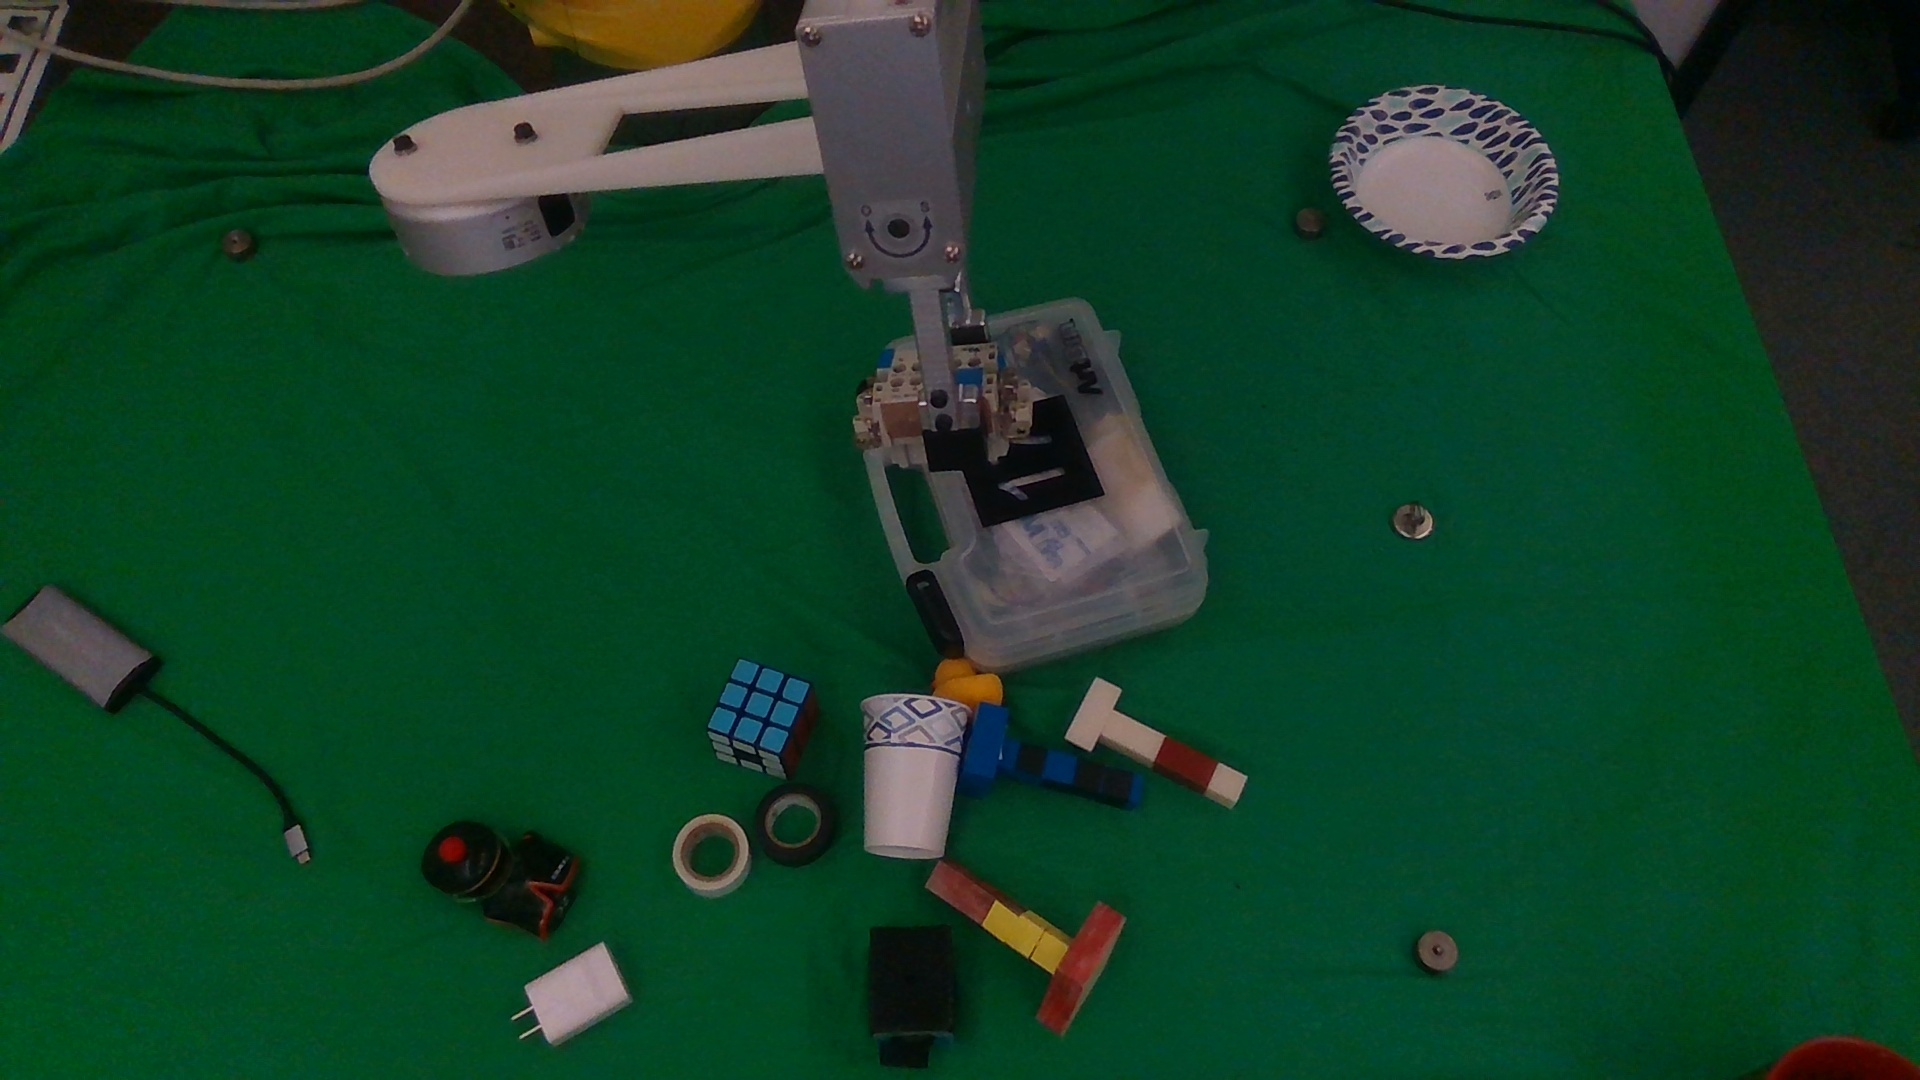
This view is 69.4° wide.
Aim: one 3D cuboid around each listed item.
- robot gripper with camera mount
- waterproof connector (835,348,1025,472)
[{"bbox_3d":[-0.088,-0.082,0.448,0.193,0.158,0.119,-6,38,5],"label":"robot gripper with camera mount"},{"bbox_3d":[-0.011,-0.044,0.493,0.065,0.037,0.035,0,40,14],"label":"waterproof connector"}]
